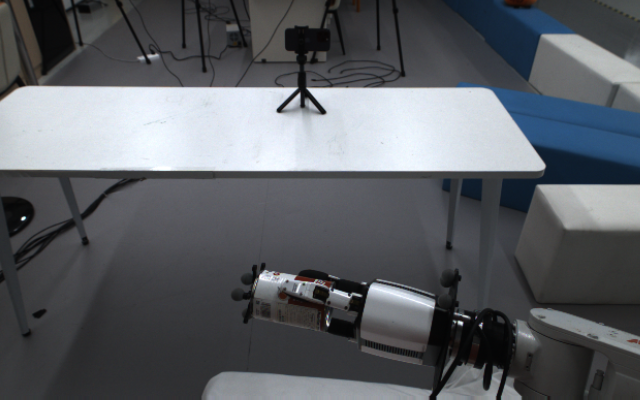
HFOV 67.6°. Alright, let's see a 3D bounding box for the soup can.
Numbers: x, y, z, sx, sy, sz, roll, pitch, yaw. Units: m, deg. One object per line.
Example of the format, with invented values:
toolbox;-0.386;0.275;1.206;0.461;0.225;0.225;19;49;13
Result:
soup can;-0.032;0.135;0.649;0.101;0.067;0.067;8;35;10
